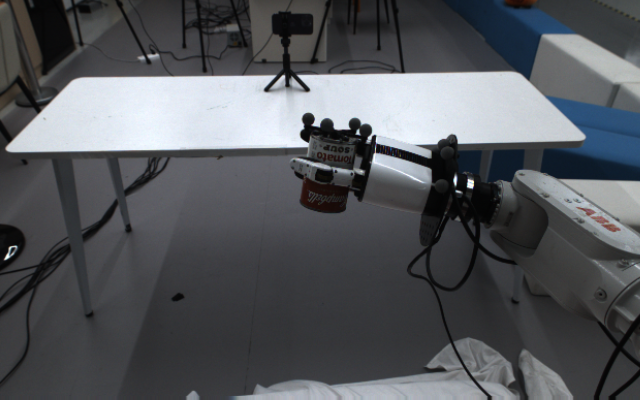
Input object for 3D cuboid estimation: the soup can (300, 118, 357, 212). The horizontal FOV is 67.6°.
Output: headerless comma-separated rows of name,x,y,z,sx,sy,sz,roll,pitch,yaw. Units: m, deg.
soup can,0.013,-0.040,0.674,0.067,0.101,0.067,8,19,-3
